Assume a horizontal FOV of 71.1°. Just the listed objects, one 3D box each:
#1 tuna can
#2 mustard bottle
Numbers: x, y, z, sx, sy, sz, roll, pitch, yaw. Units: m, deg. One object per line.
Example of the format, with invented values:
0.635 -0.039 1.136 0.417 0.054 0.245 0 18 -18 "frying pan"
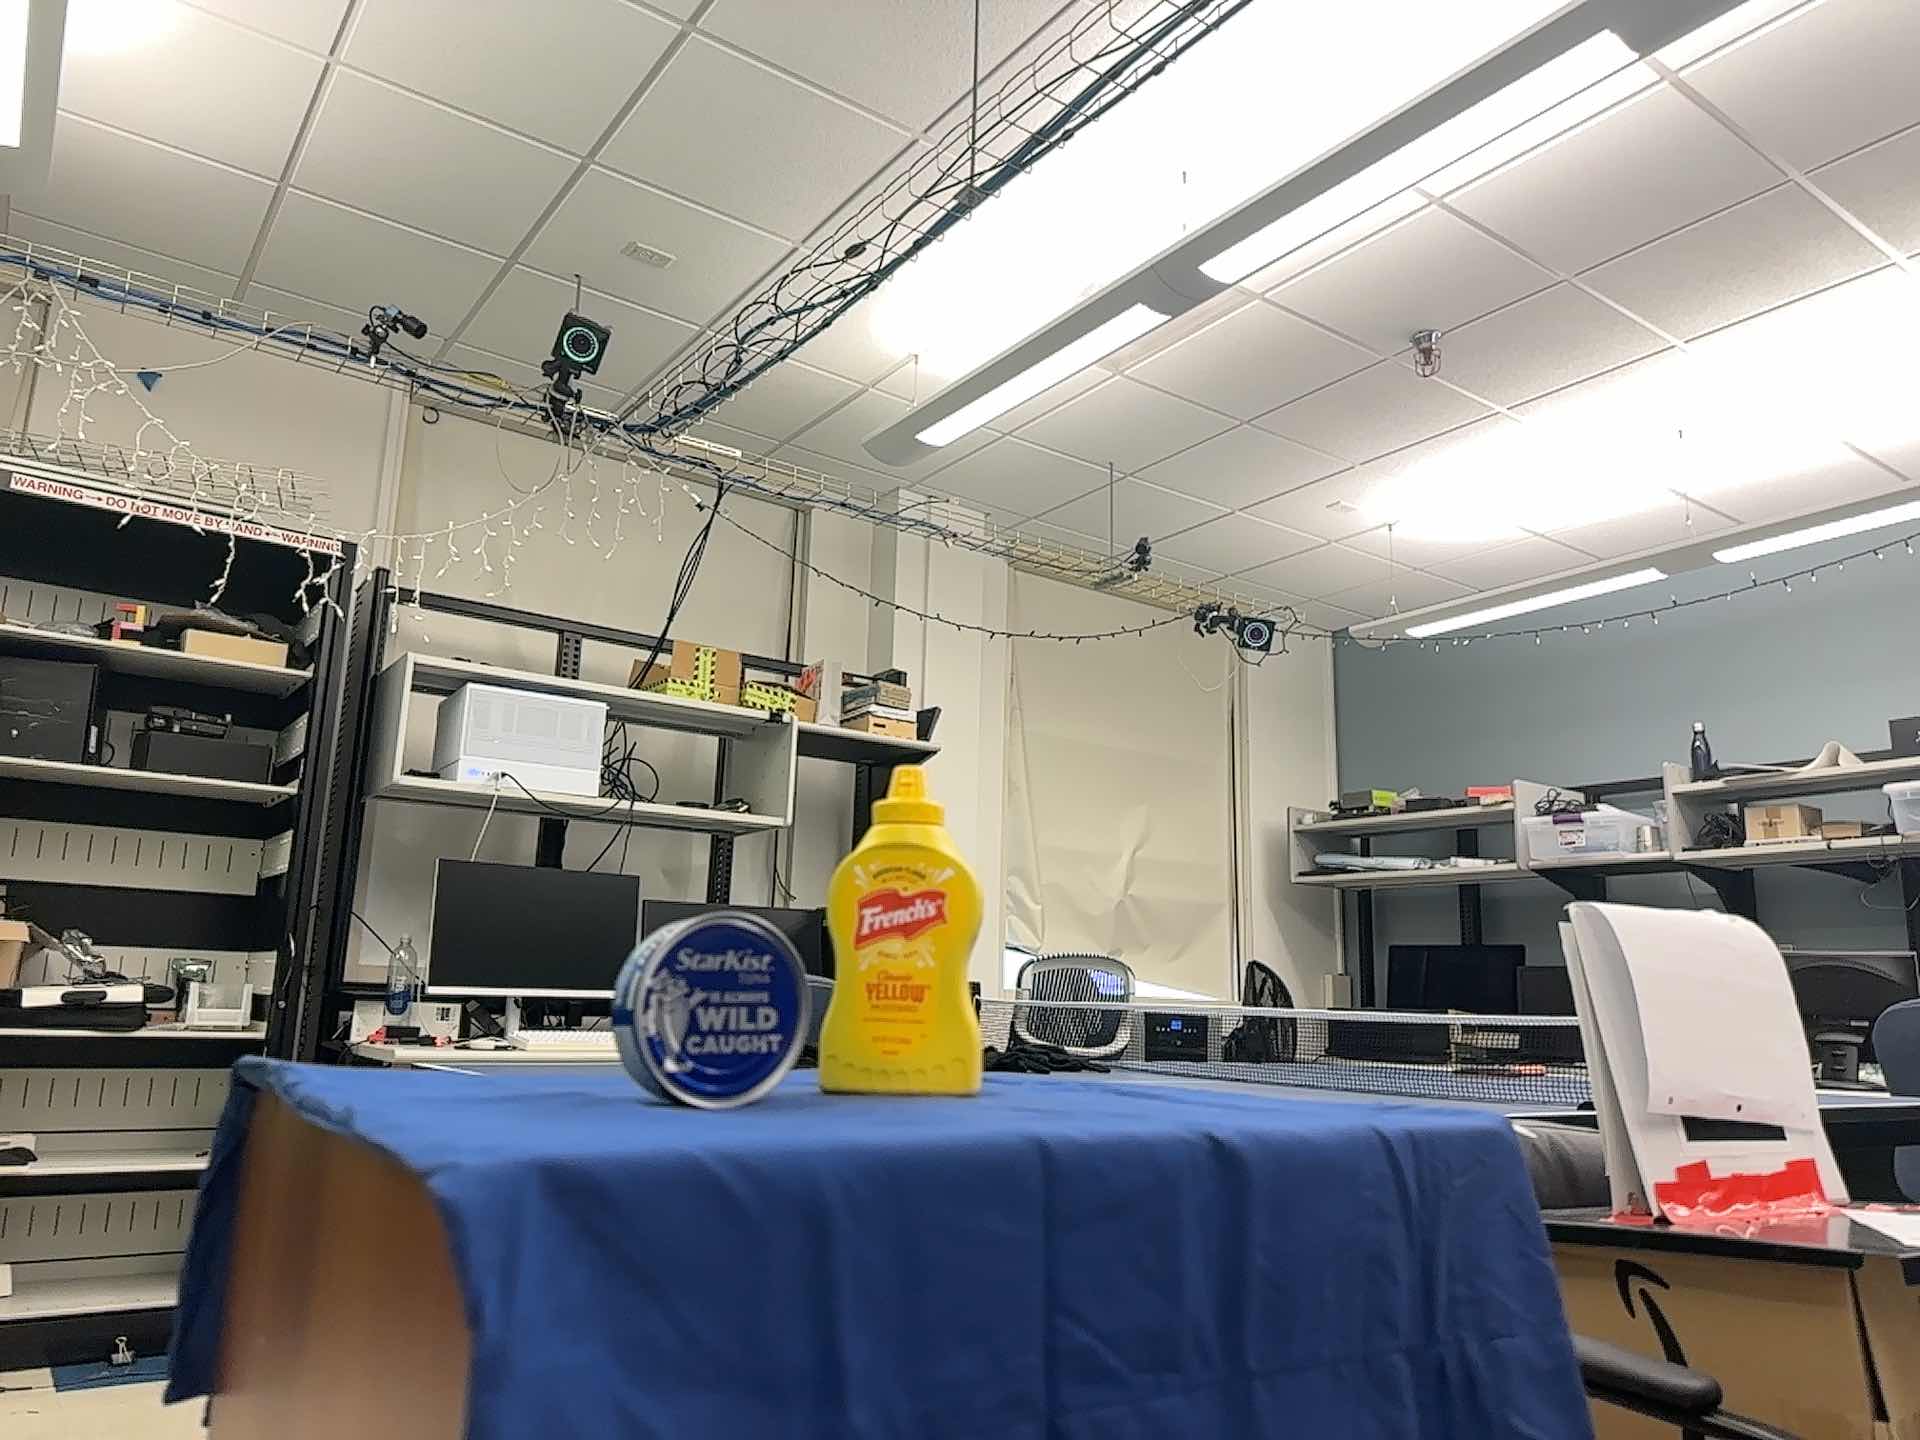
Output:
-0.114 0.133 0.623 0.083 0.083 0.034 8 -14 -32 "tuna can"
-0.031 0.110 0.742 0.092 0.184 0.054 -2 -12 15 "mustard bottle"
